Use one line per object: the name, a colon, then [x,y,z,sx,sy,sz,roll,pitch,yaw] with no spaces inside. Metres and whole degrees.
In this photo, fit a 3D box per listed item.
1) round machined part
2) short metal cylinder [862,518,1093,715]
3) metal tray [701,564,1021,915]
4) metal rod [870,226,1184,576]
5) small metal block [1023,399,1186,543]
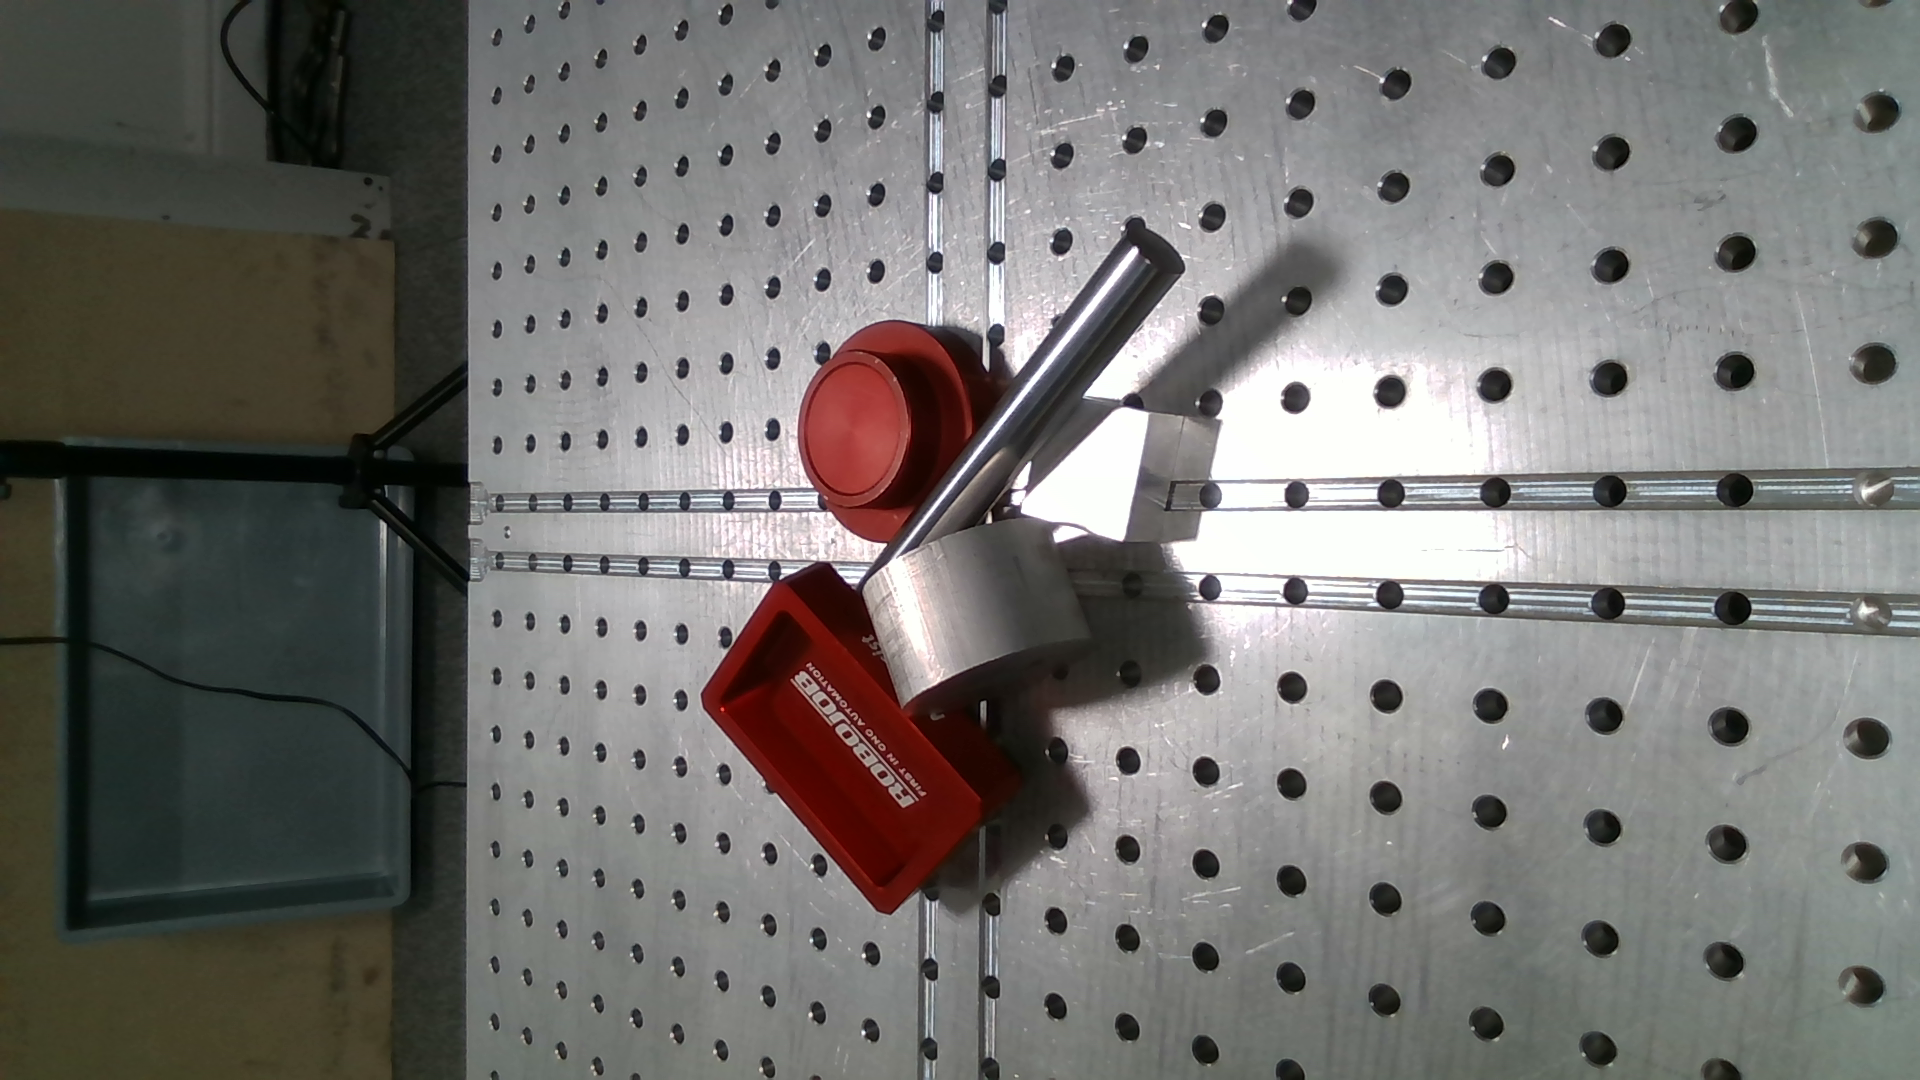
round machined part: [-0.034,-0.047,0.601,0.098,0.042,0.098,0,91,40]
short metal cylinder: [0.007,0.031,0.543,0.080,0.080,0.050,-32,70,36]
metal tray: [-0.046,0.086,0.594,0.130,0.030,0.090,46,127,13]
metal rod: [-0.006,-0.006,0.569,0.301,0.025,0.025,-52,59,37]
small metal block: [0.056,-0.029,0.538,0.050,0.025,0.050,17,101,39]
